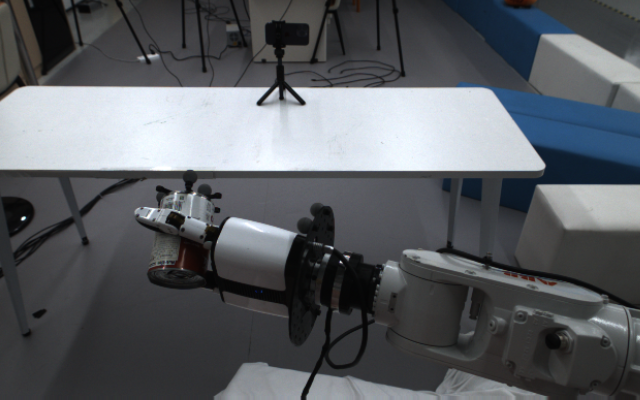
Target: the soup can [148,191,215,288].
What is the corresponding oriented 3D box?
[{"bbox_3d":[-0.163,0.049,0.581,0.067,0.067,0.101,0,60,-3],"label":"soup can"}]
